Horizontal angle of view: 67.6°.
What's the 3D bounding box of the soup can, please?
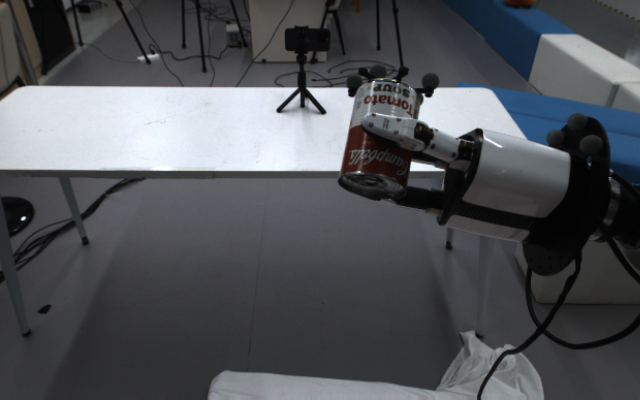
[{"bbox_3d":[0.062,-0.061,0.482,0.067,0.067,0.101,9,74,9],"label":"soup can"}]
